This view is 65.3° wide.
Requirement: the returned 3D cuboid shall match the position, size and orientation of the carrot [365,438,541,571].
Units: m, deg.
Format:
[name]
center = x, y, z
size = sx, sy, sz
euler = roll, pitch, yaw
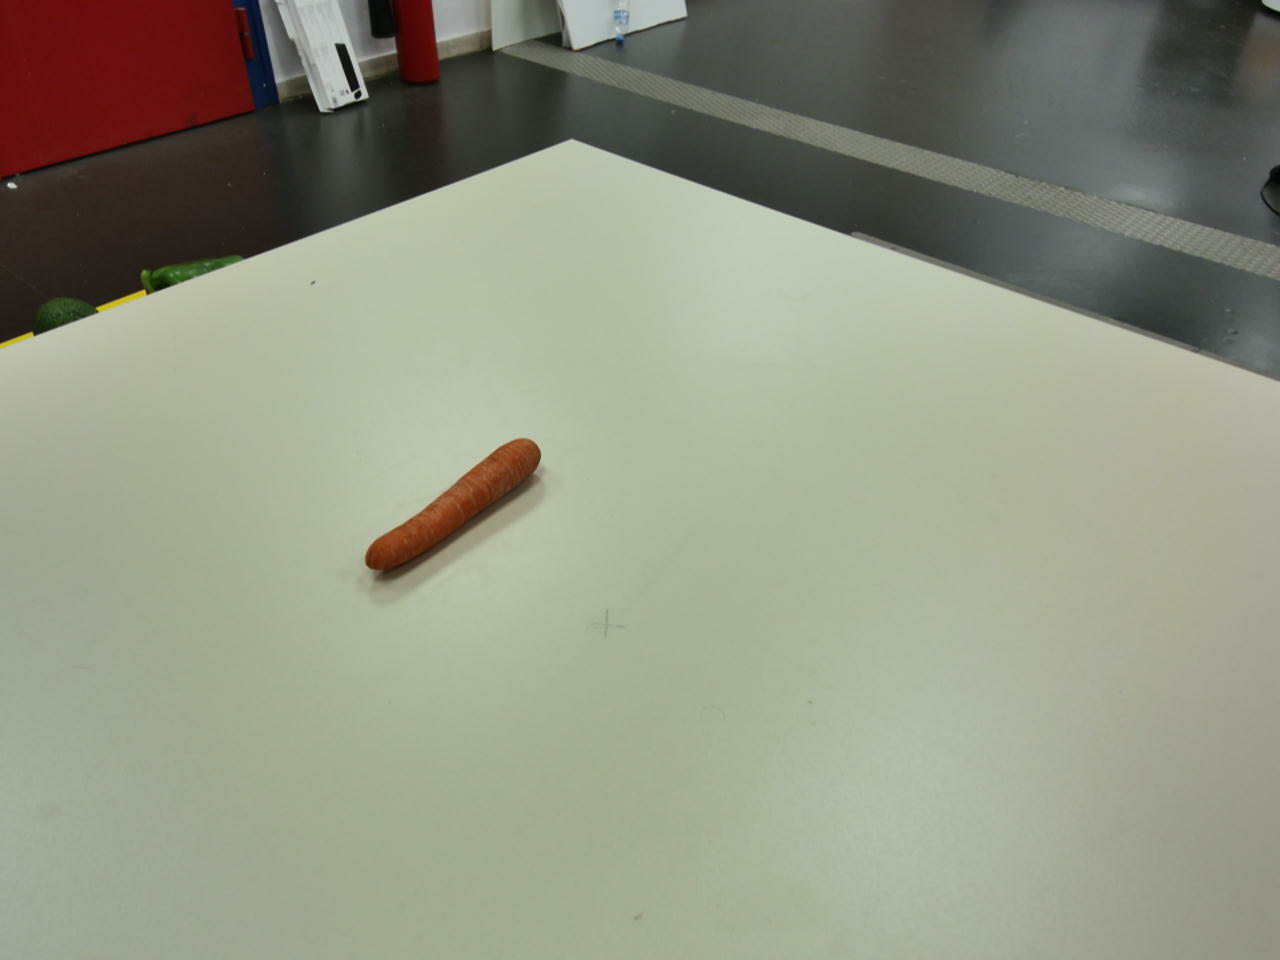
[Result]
[carrot]
center = -0.096, 0.011, 0.528
size = 0.024, 0.023, 0.122
euler = 26, 43, 29
